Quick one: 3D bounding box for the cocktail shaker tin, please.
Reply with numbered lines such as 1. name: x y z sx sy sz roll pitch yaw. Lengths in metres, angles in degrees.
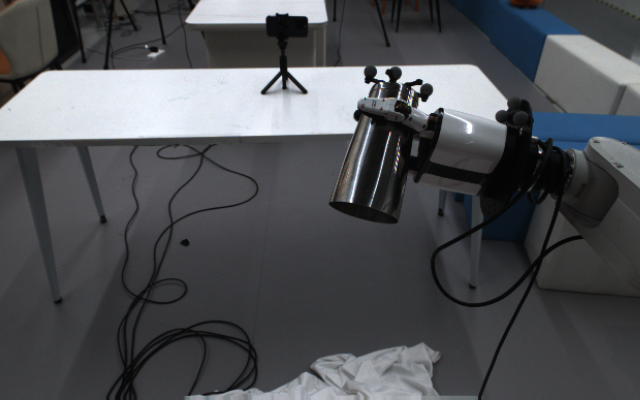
1. cocktail shaker tin: 0.081 -0.067 0.634 0.093 0.093 0.170 13 79 15
